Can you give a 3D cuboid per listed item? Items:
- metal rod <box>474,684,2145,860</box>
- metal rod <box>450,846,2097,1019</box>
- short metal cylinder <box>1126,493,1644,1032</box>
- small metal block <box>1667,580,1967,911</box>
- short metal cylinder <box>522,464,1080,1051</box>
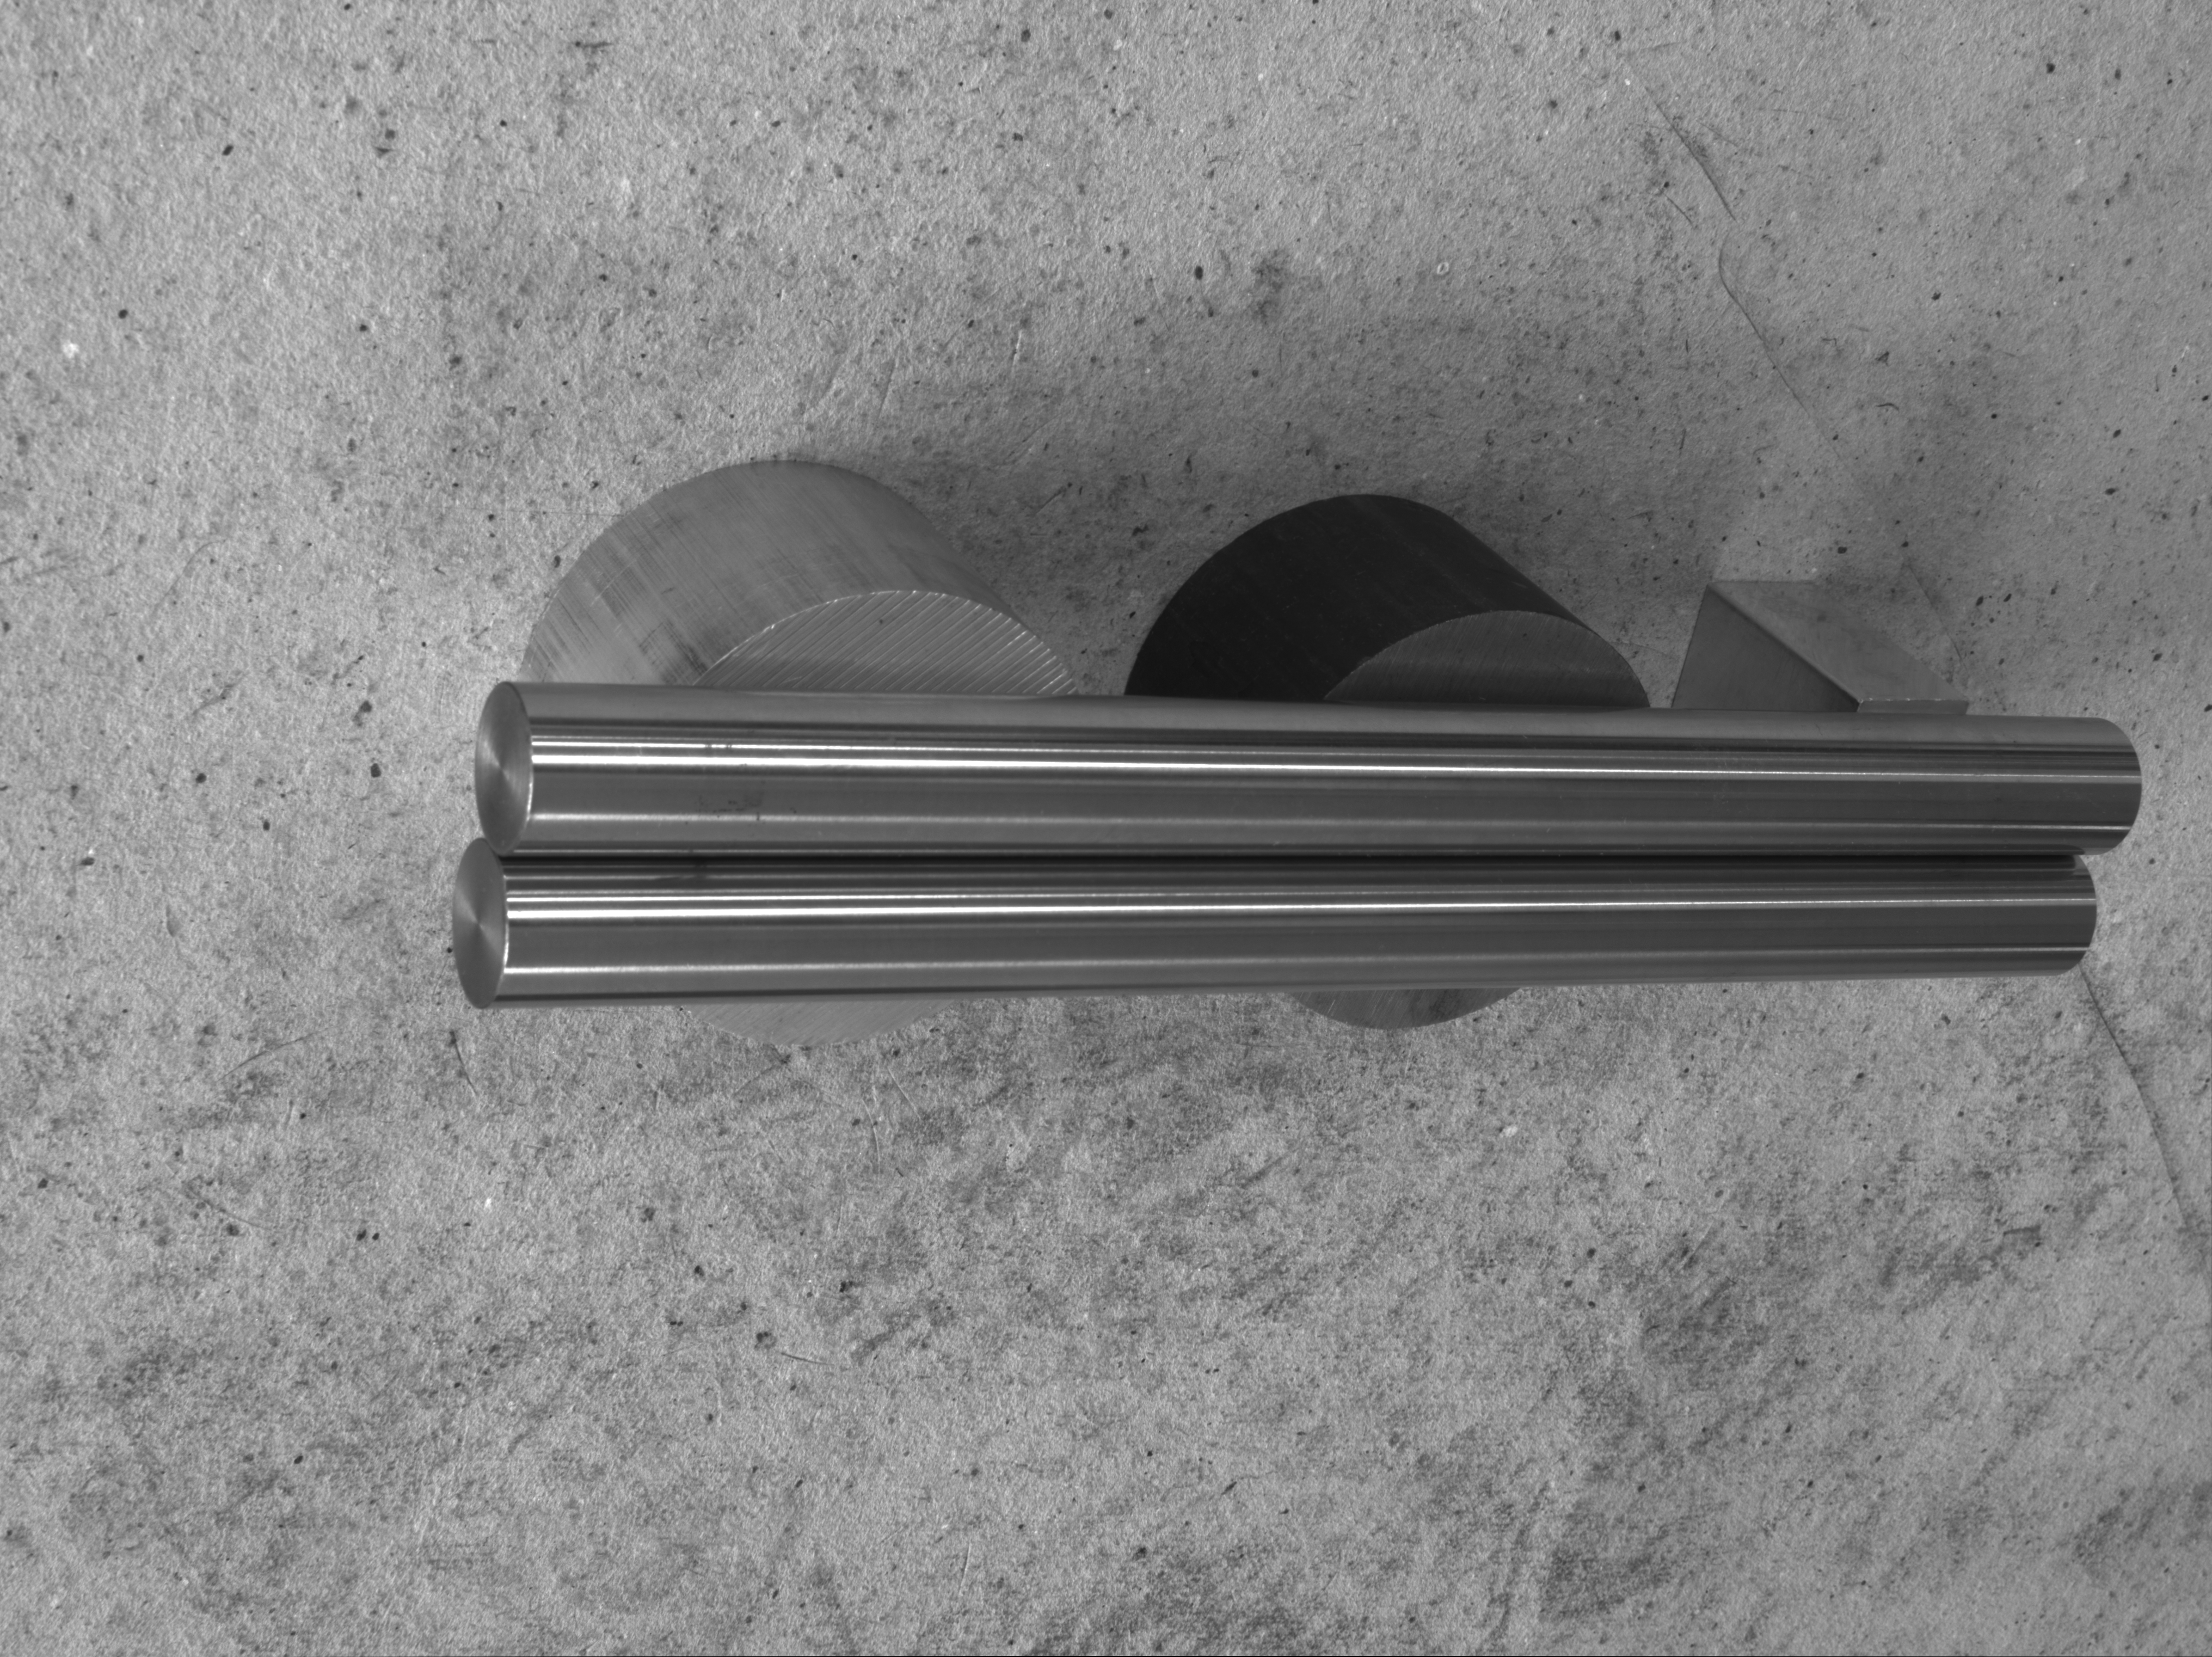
[{"bbox_3d":[0.047,-0.008,0.593,0.301,0.025,0.025,0,118,-28],"label":"metal rod"},{"bbox_3d":[0.041,0.015,0.604,0.301,0.025,0.025,0,118,-28],"label":"metal rod"},{"bbox_3d":[0.049,-0.012,0.641,0.080,0.050,0.080,-13,124,-21],"label":"short metal cylinder"},{"bbox_3d":[0.128,-0.013,0.684,0.025,0.050,0.050,-2,118,-28],"label":"small metal block"},{"bbox_3d":[-0.048,-0.012,0.588,0.080,0.050,0.080,-13,124,-21],"label":"short metal cylinder"}]
